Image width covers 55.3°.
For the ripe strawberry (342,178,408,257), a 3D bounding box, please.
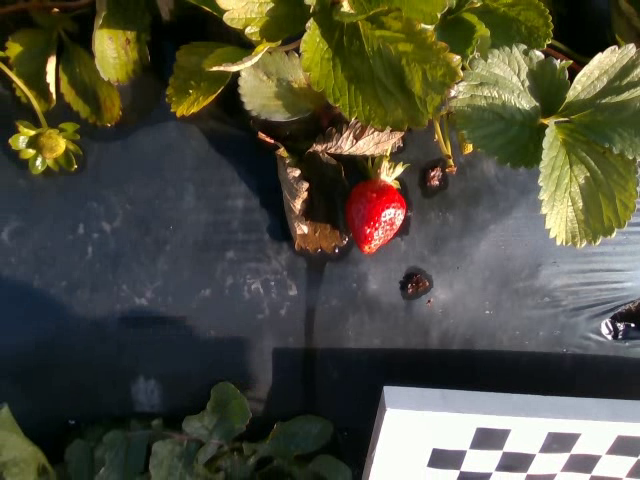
[{"bbox_3d":[0.028,-0.005,0.322,0.046,0.054,0.037,21,-12,-18],"label":"ripe strawberry"}]
